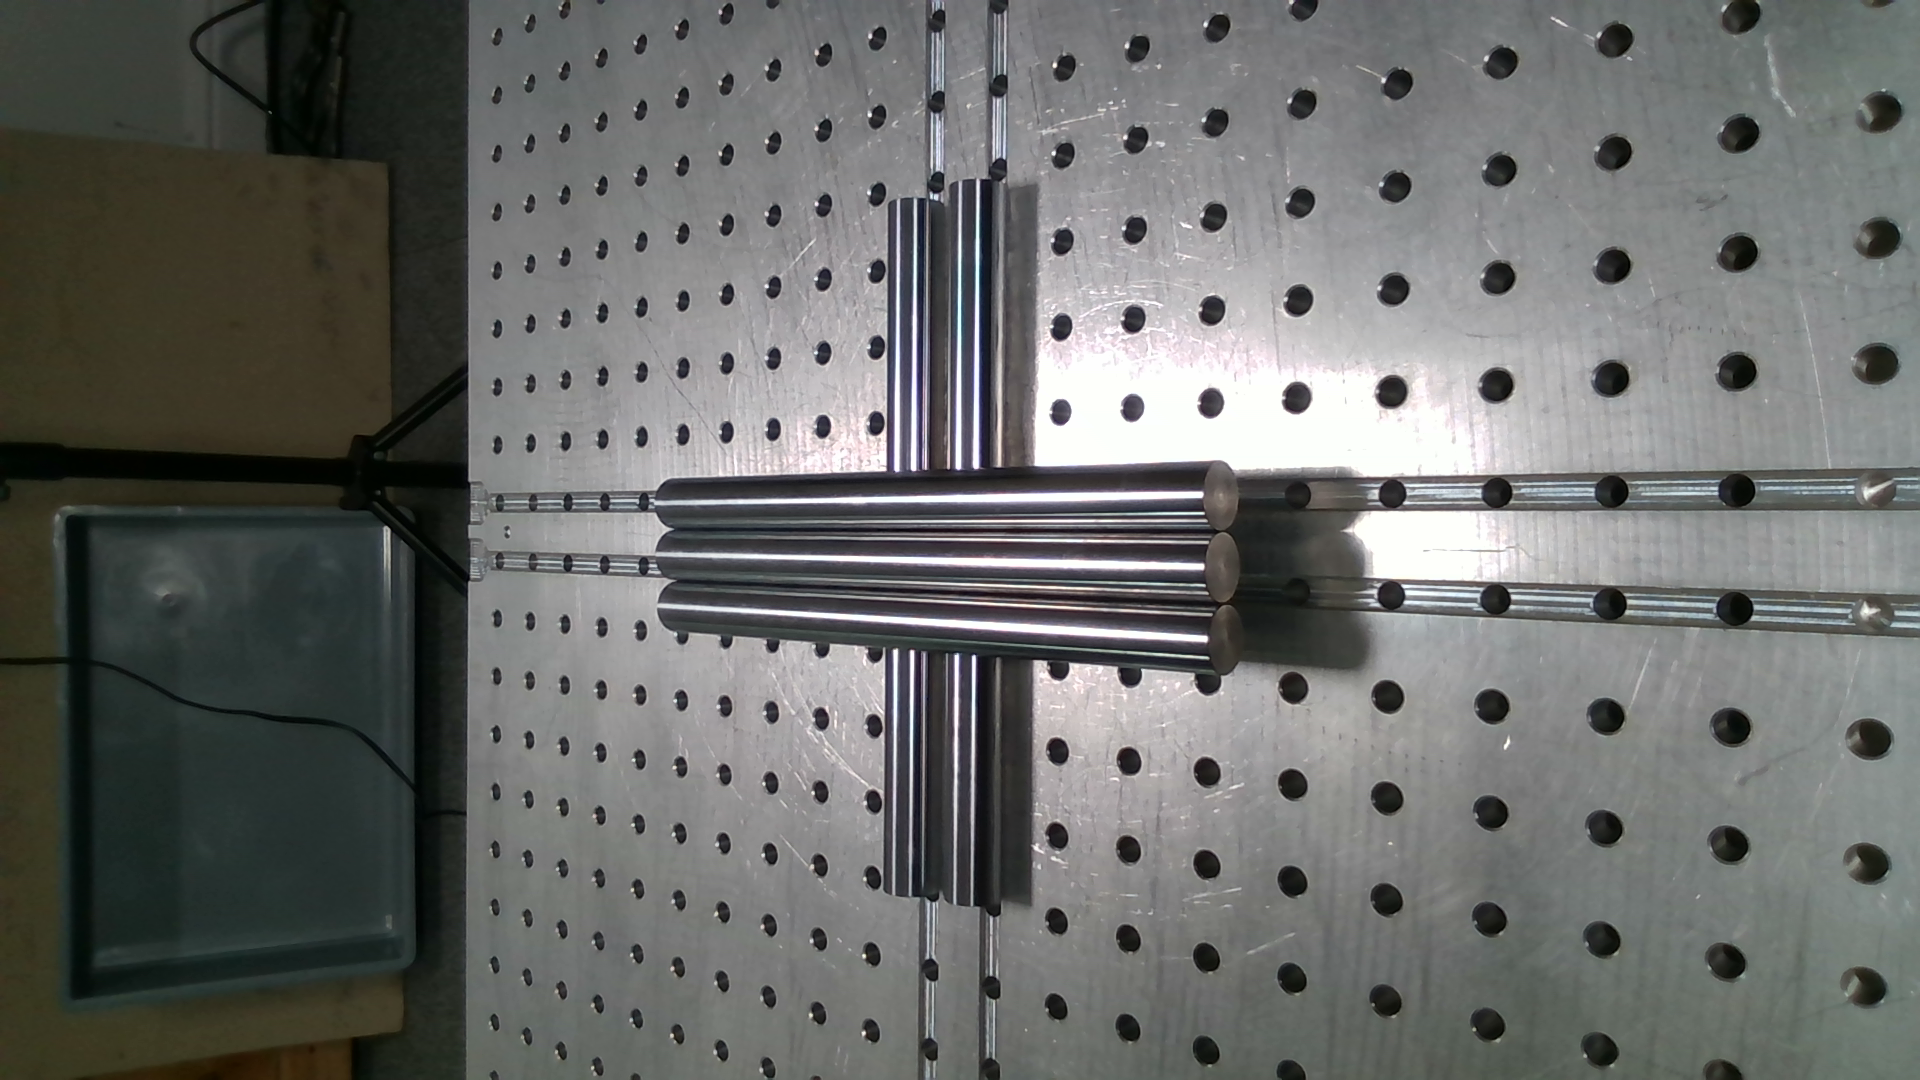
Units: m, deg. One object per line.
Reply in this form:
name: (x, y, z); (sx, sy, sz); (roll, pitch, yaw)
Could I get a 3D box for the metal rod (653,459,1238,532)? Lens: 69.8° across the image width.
metal rod: (-0.025, -0.017, 0.573); (0.300, 0.025, 0.025); (1, 91, 40)

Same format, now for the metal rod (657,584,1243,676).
metal rod: (-0.023, 0.033, 0.572); (0.300, 0.025, 0.025); (1, 91, 40)

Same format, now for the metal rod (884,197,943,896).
metal rod: (-0.020, 0.003, 0.603); (0.025, 0.025, 0.300); (1, 91, 40)

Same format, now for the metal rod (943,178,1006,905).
metal rod: (0.006, 0.001, 0.580); (0.025, 0.025, 0.300); (1, 91, 40)

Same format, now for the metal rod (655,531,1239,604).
metal rod: (-0.024, 0.008, 0.573); (0.300, 0.025, 0.025); (1, 91, 40)
